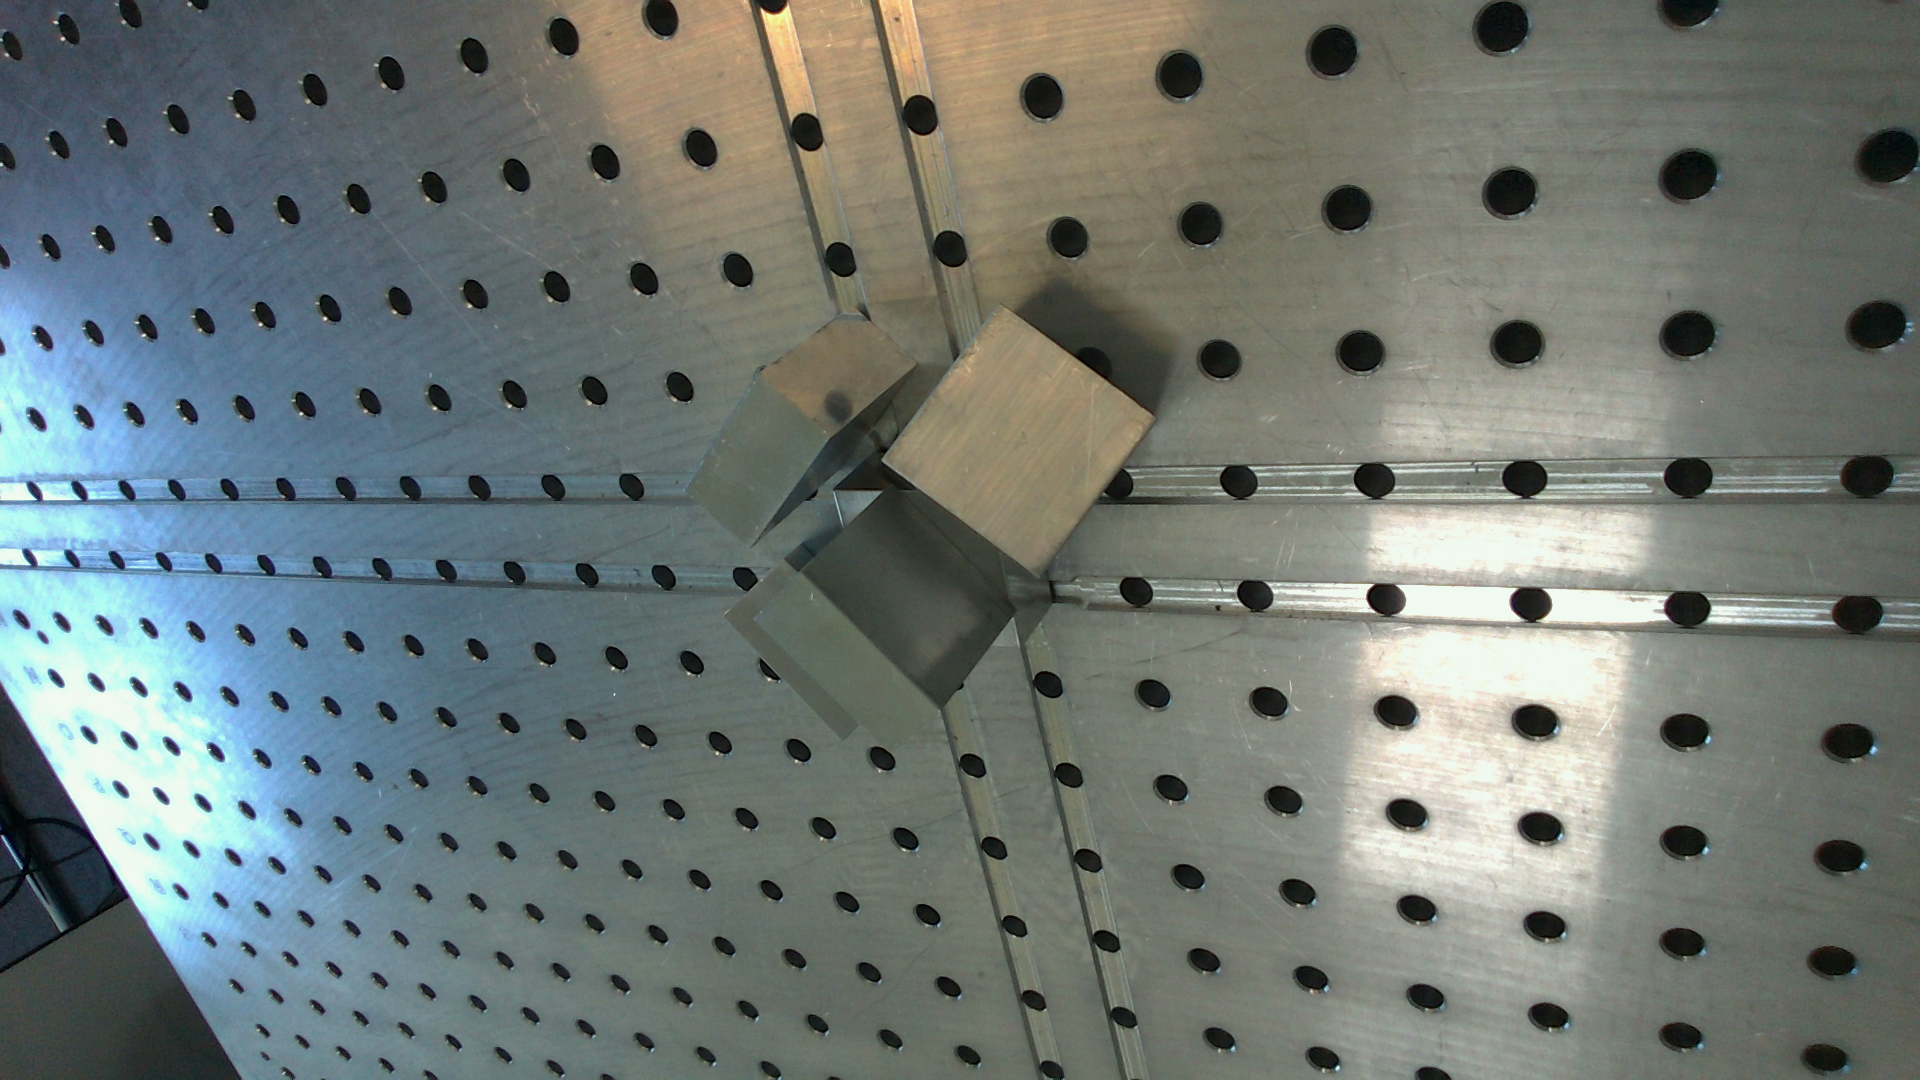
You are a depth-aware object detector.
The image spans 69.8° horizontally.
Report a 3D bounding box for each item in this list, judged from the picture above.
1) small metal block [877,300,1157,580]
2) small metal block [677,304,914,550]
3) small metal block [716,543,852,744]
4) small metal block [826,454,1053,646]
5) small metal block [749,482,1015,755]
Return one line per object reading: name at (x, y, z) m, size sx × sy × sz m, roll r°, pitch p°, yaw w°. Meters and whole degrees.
small metal block at (0.015, -0.025, 0.355) m, size 0.050 × 0.025 × 0.050 m, roll 37°, pitch 89°, yaw 4°
small metal block at (-0.046, -0.032, 0.385) m, size 0.025 × 0.050 × 0.050 m, roll 41°, pitch 129°, yaw 0°
small metal block at (-0.044, 0.030, 0.418) m, size 0.025 × 0.050 × 0.050 m, roll -43°, pitch 95°, yaw 2°
small metal block at (-0.005, 0.002, 0.400) m, size 0.050 × 0.025 × 0.050 m, roll 0°, pitch 118°, yaw 27°
small metal block at (-0.020, 0.020, 0.370) m, size 0.050 × 0.050 × 0.025 m, roll 45°, pitch 128°, yaw -4°
